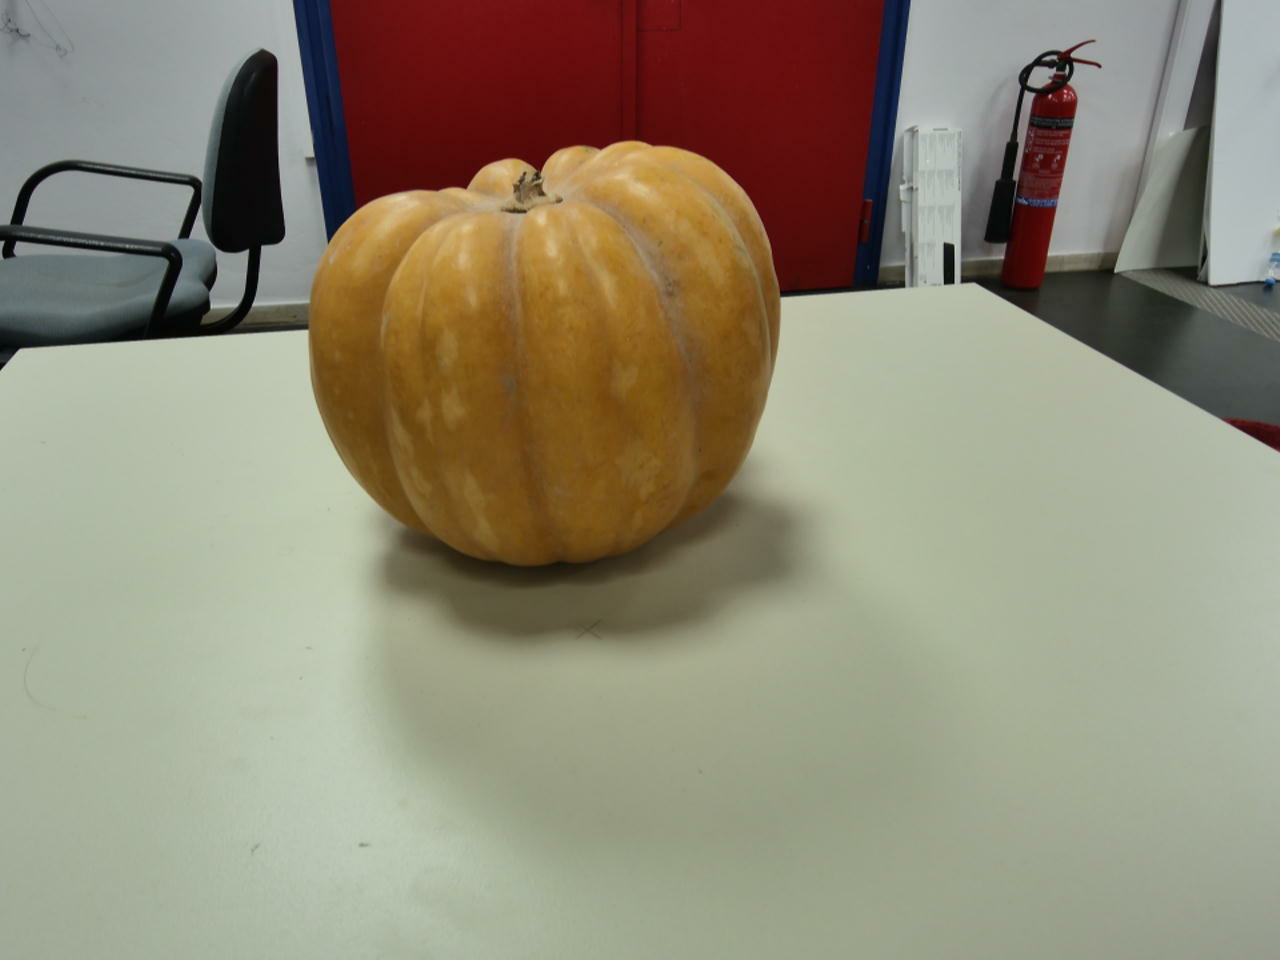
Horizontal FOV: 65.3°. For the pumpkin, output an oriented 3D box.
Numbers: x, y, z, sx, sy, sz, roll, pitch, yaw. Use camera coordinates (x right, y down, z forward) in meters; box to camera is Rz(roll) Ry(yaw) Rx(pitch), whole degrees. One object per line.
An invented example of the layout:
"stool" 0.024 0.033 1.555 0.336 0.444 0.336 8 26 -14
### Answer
"pumpkin" -0.041 -0.063 0.496 0.230 0.194 0.230 0 26 0
